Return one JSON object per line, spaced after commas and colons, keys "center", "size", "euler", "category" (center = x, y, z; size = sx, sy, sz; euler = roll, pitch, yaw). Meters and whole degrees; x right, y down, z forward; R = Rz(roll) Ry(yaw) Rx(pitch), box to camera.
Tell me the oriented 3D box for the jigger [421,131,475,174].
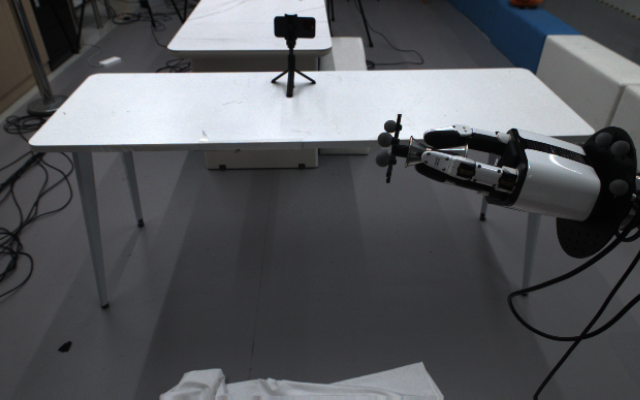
{"center": [0.148, -0.058, 0.594], "size": [0.071, 0.043, 0.043], "euler": [9, 35, 9], "category": "jigger"}
